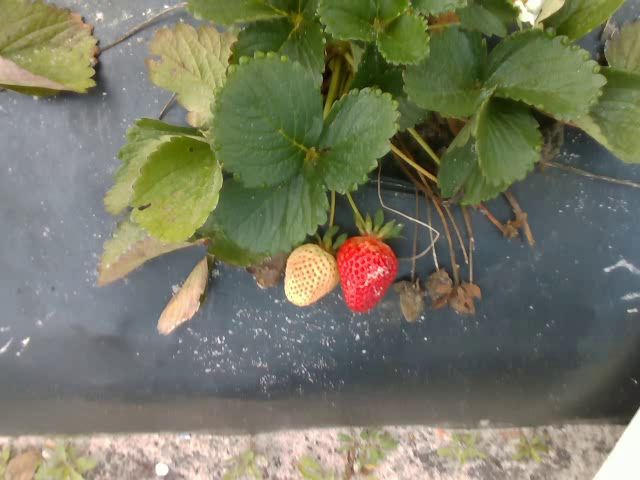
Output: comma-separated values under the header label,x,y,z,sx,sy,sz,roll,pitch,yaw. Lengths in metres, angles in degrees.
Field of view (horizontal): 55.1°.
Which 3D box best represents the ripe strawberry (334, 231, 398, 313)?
label,x,y,z,sx,sy,sz,roll,pitch,yaw
ripe strawberry,0.022,0.017,0.295,0.034,0.041,0.033,23,-18,-17
